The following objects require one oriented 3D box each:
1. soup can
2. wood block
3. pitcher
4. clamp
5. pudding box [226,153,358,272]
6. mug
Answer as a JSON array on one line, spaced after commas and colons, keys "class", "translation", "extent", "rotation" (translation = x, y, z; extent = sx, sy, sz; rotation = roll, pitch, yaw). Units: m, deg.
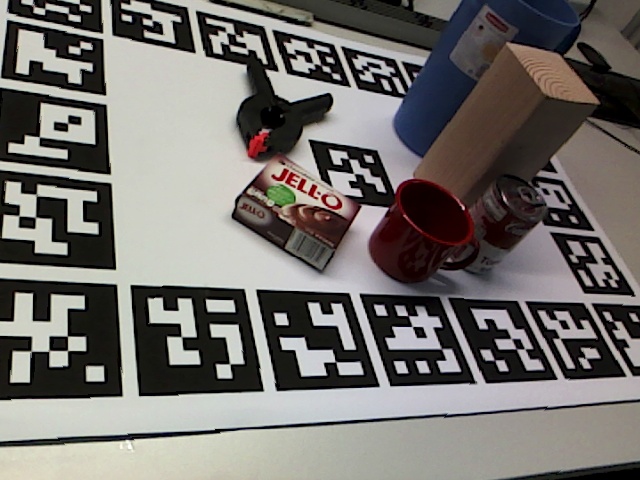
[{"class": "soup can", "translation": [0.201, -0.015, 0.708], "extent": [0.067, 0.102, 0.068], "rotation": [15, 48, -18]}, {"class": "wood block", "translation": [0.216, -0.117, 0.733], "extent": [0.089, 0.206, 0.091], "rotation": [4, 49, -31]}, {"class": "pitcher", "translation": [0.215, -0.220, 0.804], "extent": [0.188, 0.242, 0.134], "rotation": [2, 49, -25]}, {"class": "clamp", "translation": [-0.049, -0.151, 0.753], "extent": [0.121, 0.036, 0.165], "rotation": [31, 43, -11]}, {"class": "pudding box", "translation": [-0.028, -0.030, 0.645], "extent": [0.114, 0.039, 0.090], "rotation": [31, 46, 1]}, {"class": "mug", "translation": [0.119, 0.001, 0.663], "extent": [0.117, 0.081, 0.093], "rotation": [30, 41, 0]}]
